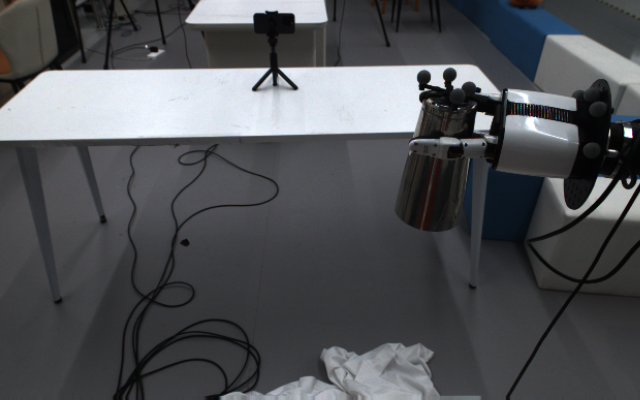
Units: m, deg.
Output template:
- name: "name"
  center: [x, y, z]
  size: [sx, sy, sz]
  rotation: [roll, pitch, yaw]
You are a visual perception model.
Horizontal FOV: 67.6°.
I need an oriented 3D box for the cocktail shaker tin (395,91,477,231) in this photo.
- name: "cocktail shaker tin"
  center: [0.160, -0.057, 0.649]
  size: [0.093, 0.170, 0.093]
  rotation: [3, 33, -2]
